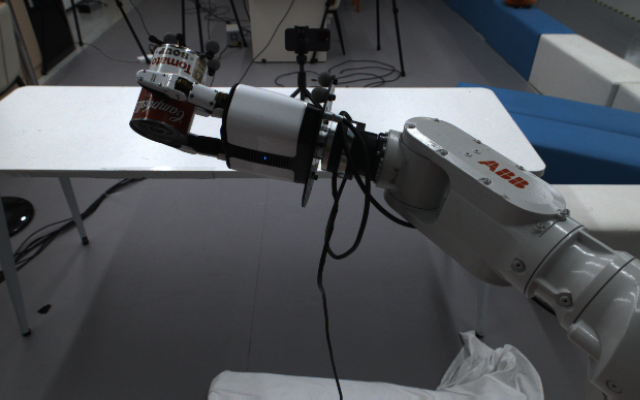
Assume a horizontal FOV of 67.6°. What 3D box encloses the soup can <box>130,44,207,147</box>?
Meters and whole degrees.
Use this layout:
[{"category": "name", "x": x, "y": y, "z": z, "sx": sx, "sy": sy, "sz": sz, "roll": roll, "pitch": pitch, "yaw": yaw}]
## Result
[{"category": "soup can", "x": -0.180, "y": -0.124, "z": 0.582, "sx": 0.067, "sy": 0.067, "sz": 0.101, "roll": 8, "pitch": 74, "yaw": 9}]
